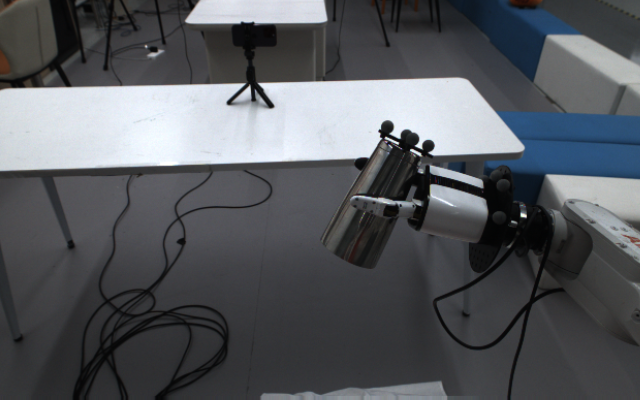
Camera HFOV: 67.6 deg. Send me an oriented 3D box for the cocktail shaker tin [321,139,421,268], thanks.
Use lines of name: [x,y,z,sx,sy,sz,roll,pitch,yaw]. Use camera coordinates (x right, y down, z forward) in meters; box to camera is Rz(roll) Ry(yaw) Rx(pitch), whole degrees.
cocktail shaker tin: [0.080,0.000,0.697,0.093,0.170,0.093,24,13,-6]
